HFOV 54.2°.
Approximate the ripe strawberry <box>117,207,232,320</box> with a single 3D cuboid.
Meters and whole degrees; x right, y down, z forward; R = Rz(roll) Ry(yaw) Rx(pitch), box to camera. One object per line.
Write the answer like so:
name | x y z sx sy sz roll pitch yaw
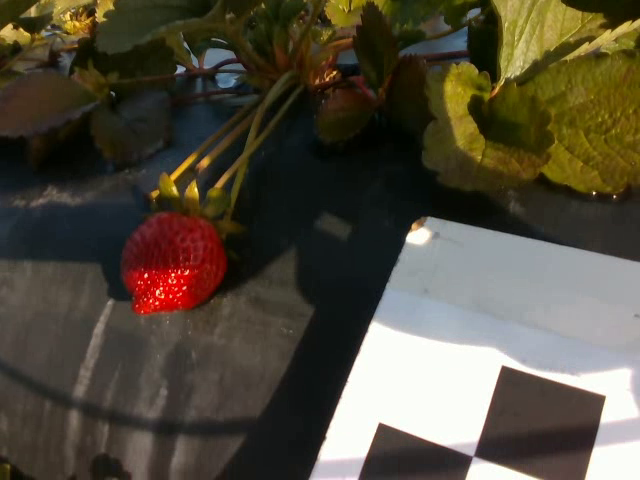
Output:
ripe strawberry | -0.049 0.010 0.198 0.040 0.044 0.037 -4 -43 17
